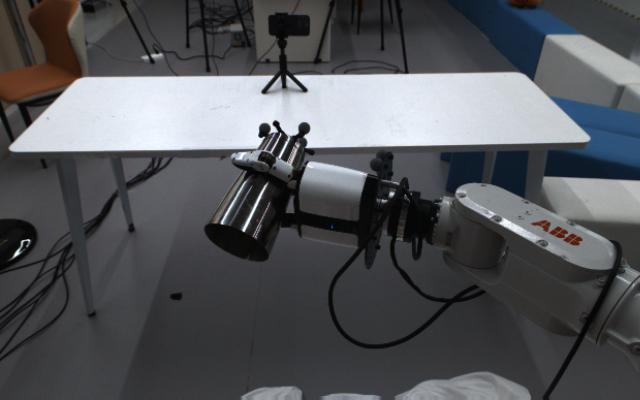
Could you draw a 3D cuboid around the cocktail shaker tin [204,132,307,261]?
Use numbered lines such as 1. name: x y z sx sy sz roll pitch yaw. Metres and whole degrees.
1. cocktail shaker tin: -0.082 -0.011 0.672 0.093 0.093 0.170 13 58 16
